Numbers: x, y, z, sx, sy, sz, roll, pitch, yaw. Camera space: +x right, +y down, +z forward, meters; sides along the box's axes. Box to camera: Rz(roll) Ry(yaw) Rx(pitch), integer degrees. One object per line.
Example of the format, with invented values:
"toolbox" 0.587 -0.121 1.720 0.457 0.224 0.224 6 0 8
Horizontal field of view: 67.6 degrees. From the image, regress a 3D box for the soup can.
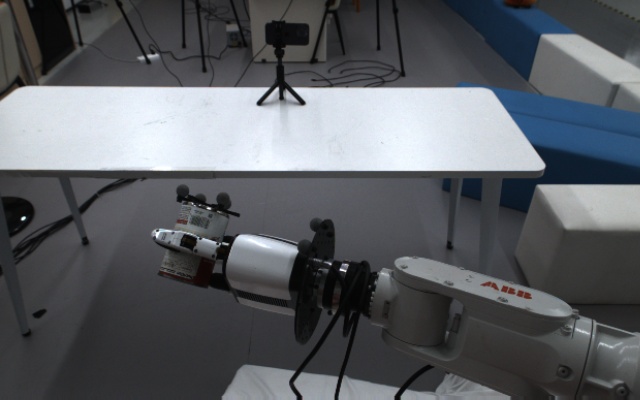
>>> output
"soup can" -0.168 0.061 0.647 0.067 0.067 0.101 13 77 15
